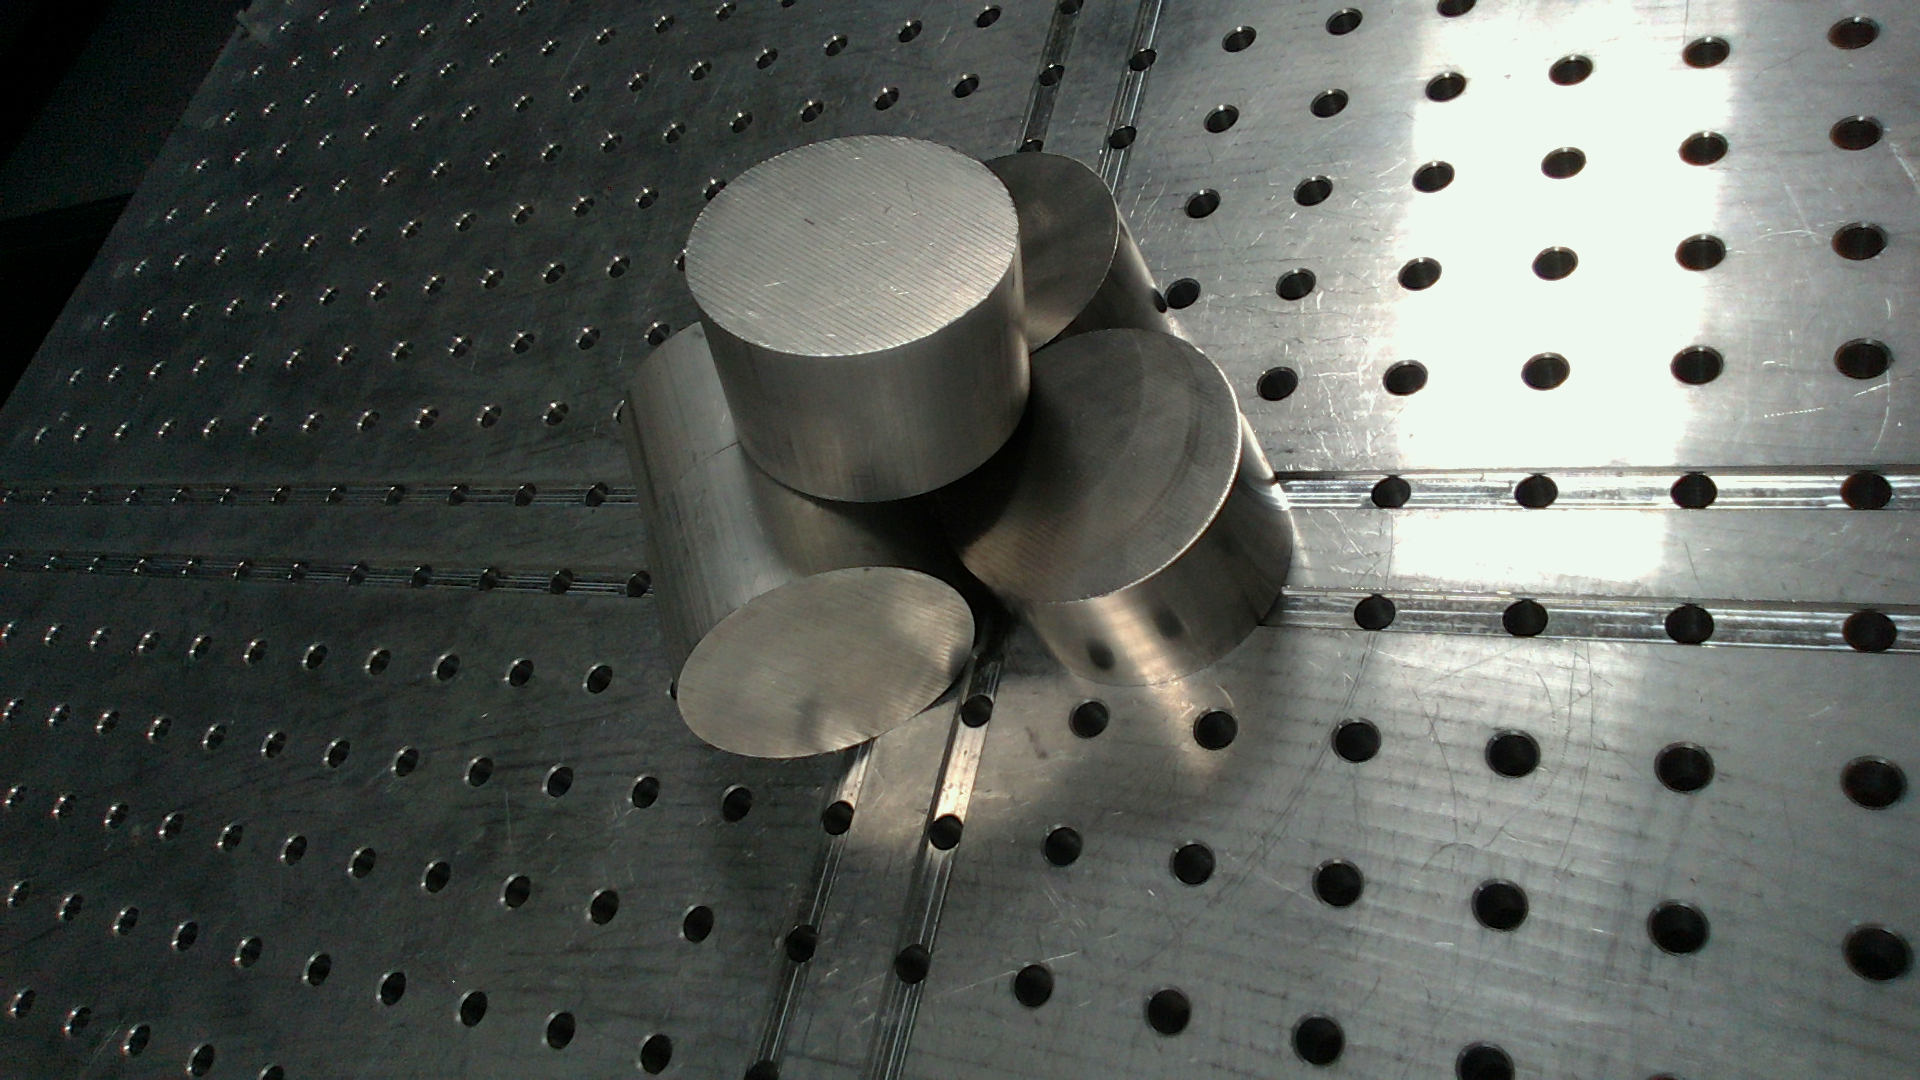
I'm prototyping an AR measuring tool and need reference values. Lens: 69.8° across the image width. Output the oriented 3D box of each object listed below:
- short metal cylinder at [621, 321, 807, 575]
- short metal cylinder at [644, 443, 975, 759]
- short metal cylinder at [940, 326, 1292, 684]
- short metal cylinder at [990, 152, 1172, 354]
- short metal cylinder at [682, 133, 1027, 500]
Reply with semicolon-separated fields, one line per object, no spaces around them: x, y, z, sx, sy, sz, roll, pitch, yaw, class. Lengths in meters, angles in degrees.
-0.055;-0.022;0.405;0.080;0.080;0.050;-30;51;9;short metal cylinder
-0.042;0.015;0.374;0.080;0.080;0.050;-30;52;9;short metal cylinder
0.042;-0.009;0.363;0.080;0.050;0.080;-14;56;21;short metal cylinder
0.018;-0.068;0.412;0.080;0.050;0.080;-14;56;21;short metal cylinder
-0.024;-0.057;0.345;0.080;0.050;0.080;-3;51;4;short metal cylinder
